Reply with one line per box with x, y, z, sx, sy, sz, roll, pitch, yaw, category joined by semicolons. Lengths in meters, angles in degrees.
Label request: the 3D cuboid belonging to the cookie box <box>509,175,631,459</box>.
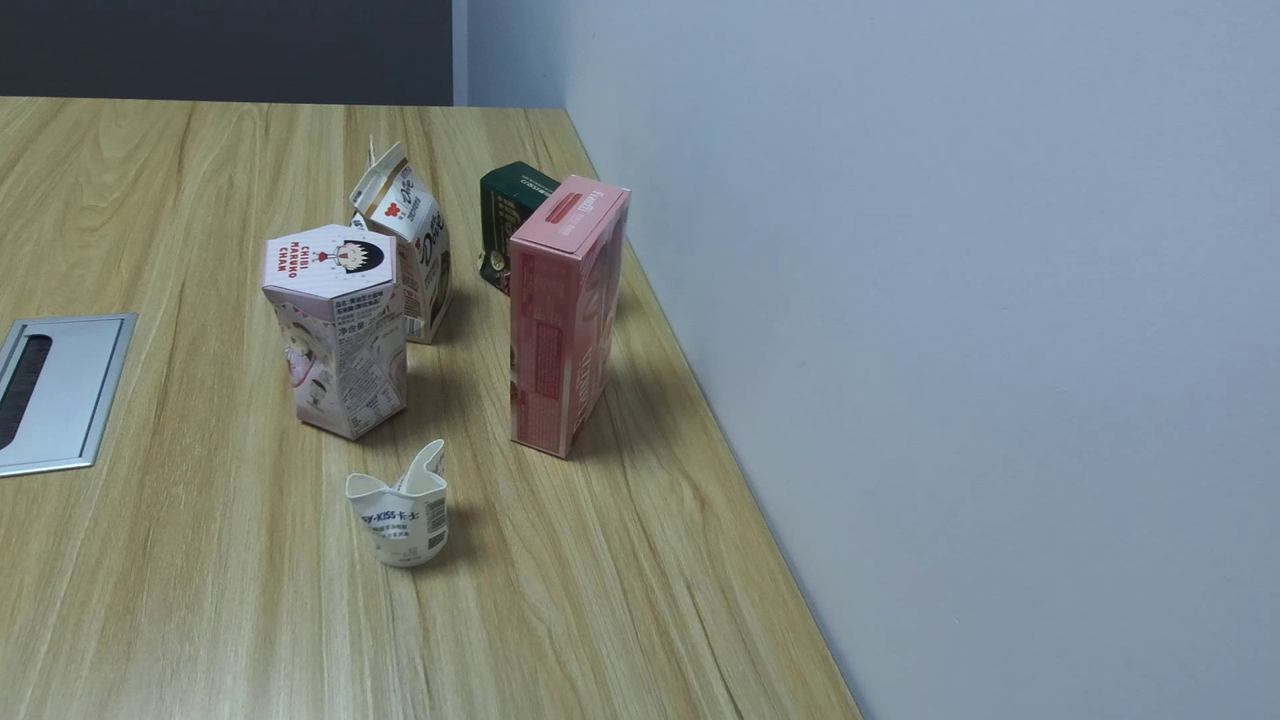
-0.053;-0.026;0.513;0.048;0.184;0.096;16;42;8;cookie box

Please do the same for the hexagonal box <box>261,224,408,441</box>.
-0.214;-0.021;0.510;0.088;0.134;0.093;33;47;21;hexagonal box

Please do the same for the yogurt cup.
-0.149;0.092;0.449;0.055;0.072;0.055;1;46;-10;yogurt cup

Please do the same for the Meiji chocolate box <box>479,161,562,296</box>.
-0.091;-0.109;0.648;0.122;0.116;0.059;34;48;22;Meiji chocolate box

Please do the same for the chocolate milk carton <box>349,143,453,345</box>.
-0.203;-0.099;0.583;0.073;0.155;0.076;9;42;-1;chocolate milk carton
